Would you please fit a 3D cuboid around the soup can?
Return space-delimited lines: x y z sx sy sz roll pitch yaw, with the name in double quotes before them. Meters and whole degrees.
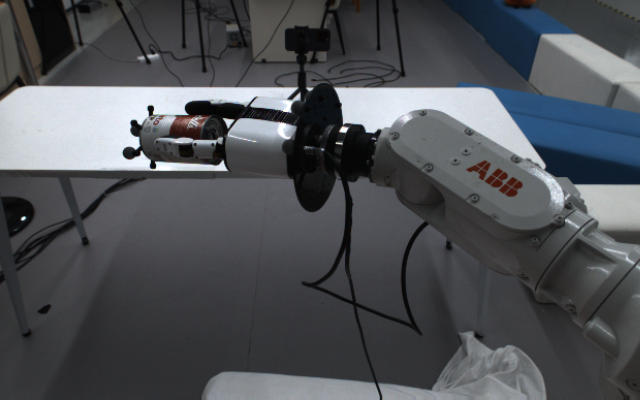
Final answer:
"soup can" -0.185 -0.083 0.666 0.101 0.067 0.067 4 34 20
